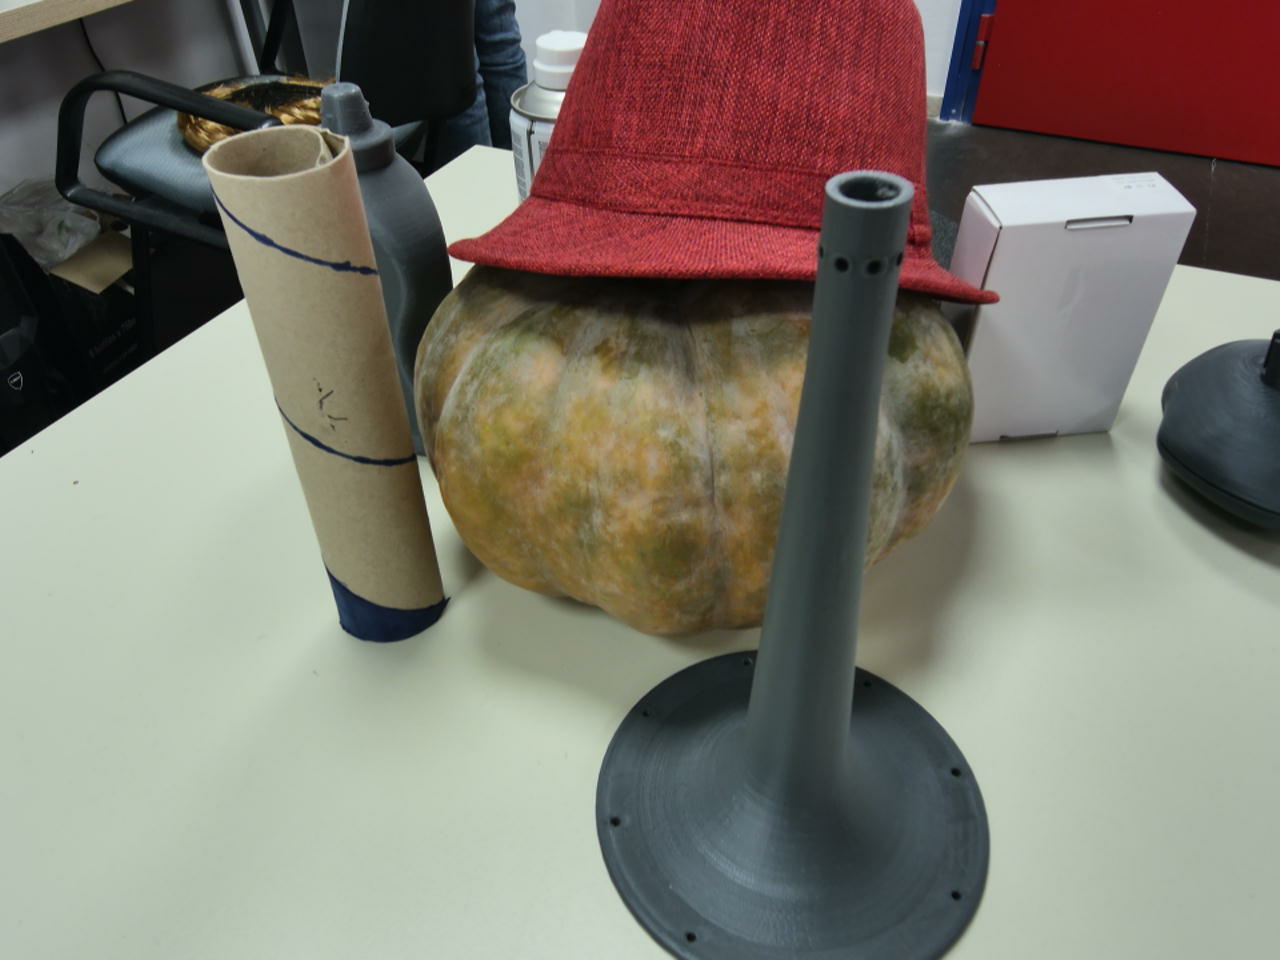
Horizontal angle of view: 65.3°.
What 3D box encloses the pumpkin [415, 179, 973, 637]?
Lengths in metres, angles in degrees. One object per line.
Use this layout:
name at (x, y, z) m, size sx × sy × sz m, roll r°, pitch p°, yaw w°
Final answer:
pumpkin at (0.019, -0.041, 0.464) m, size 0.252 × 0.169 × 0.251 m, roll 0°, pitch 38°, yaw 0°
